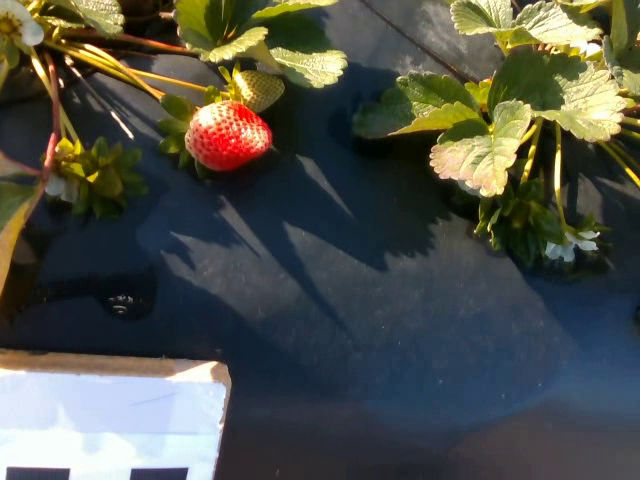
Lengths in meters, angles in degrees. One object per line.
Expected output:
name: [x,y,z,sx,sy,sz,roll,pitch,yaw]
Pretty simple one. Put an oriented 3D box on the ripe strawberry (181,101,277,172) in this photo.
ripe strawberry: [-0.034,-0.042,0.240,0.042,0.037,0.045,-22,22,-40]
